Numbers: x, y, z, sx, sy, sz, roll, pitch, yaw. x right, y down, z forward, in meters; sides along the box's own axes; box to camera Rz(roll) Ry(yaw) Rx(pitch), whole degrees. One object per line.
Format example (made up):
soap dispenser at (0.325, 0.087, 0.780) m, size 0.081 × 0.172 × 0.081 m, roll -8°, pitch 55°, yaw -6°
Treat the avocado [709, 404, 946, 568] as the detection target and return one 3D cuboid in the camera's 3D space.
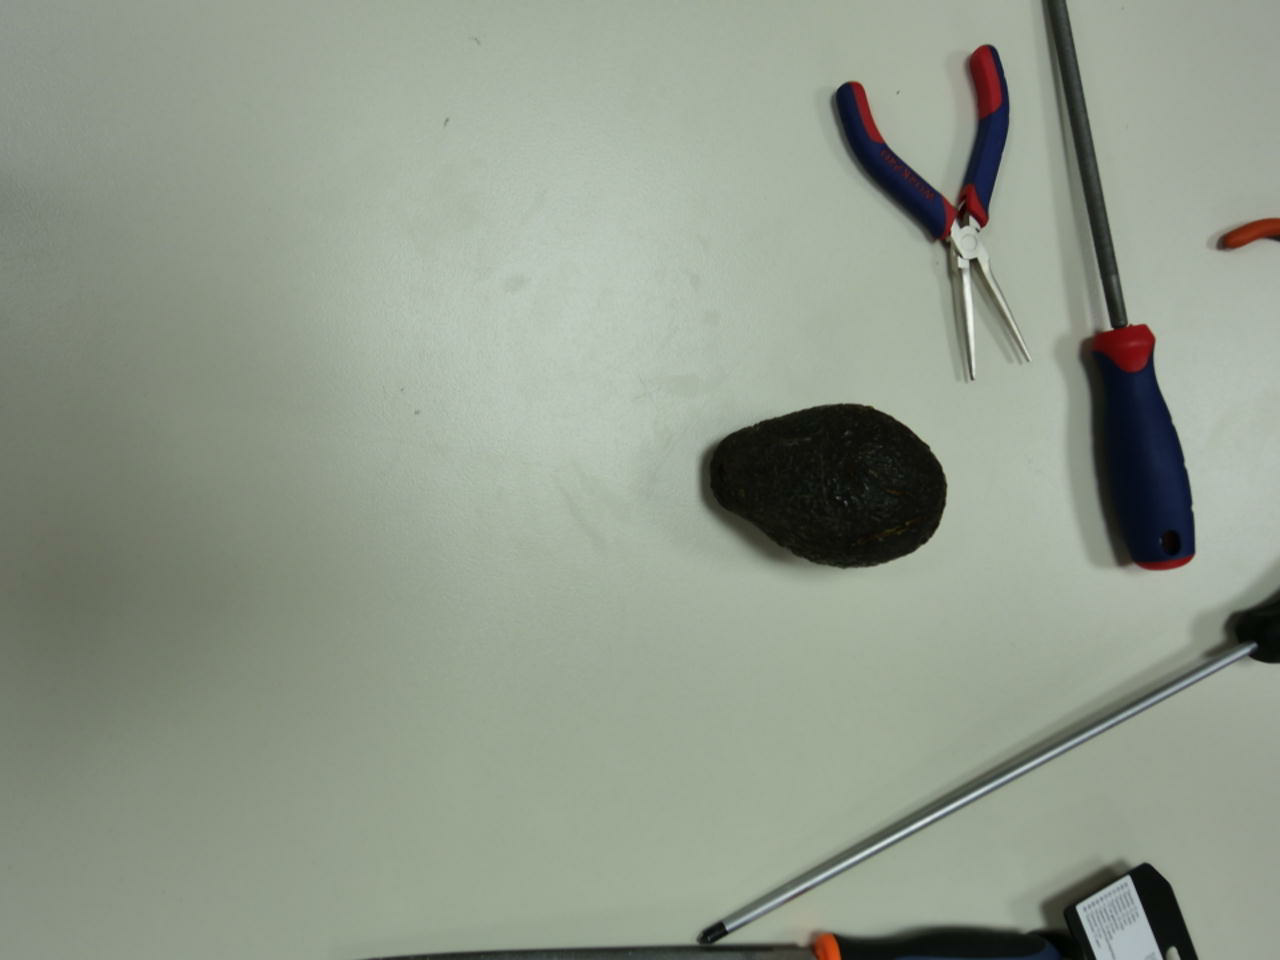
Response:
avocado at (0.082, -0.001, 0.421) m, size 0.090 × 0.069 × 0.070 m, roll 35°, pitch 83°, yaw -10°
